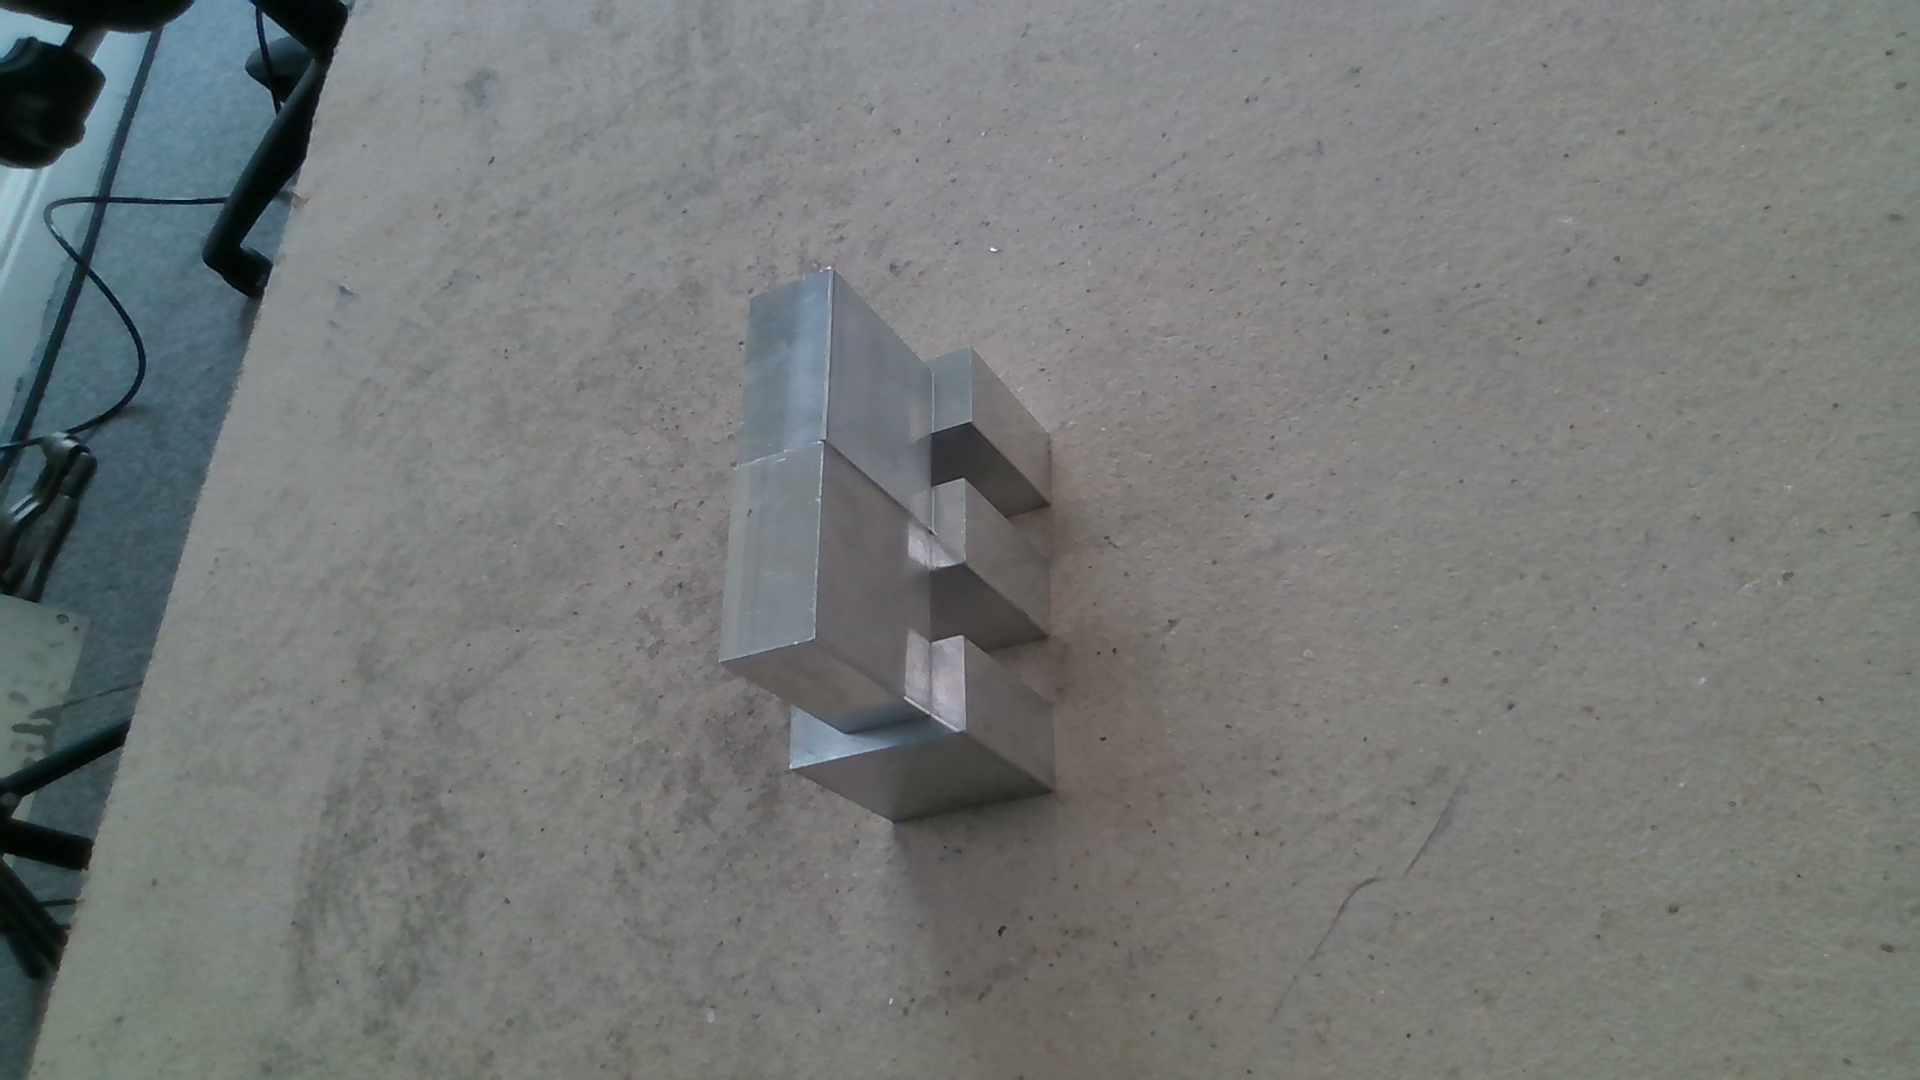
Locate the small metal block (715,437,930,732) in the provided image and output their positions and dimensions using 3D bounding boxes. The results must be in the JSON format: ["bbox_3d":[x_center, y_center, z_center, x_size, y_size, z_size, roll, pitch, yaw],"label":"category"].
[{"bbox_3d":[-0.030,0.012,0.325,0.025,0.050,0.050,-15,59,25],"label":"small metal block"}]

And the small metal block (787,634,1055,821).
[{"bbox_3d":[-0.009,0.050,0.356,0.050,0.050,0.025,-15,58,24],"label":"small metal block"}]

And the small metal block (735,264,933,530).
[{"bbox_3d":[-0.030,-0.032,0.349,0.025,0.050,0.050,-15,59,25],"label":"small metal block"}]

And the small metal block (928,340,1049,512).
[{"bbox_3d":[-0.008,-0.027,0.395,0.050,0.050,0.025,-15,58,24],"label":"small metal block"}]

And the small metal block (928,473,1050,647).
[{"bbox_3d":[-0.009,0.010,0.378,0.050,0.050,0.025,-15,58,24],"label":"small metal block"}]
